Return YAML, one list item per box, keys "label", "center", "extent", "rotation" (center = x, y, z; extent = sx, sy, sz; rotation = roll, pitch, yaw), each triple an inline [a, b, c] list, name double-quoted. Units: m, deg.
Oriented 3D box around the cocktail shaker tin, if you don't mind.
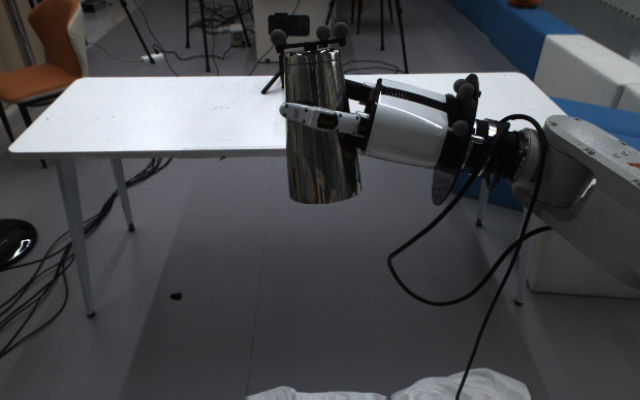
- label: "cocktail shaker tin"
  center: [-0.001, -0.090, 0.581]
  extent: [0.093, 0.170, 0.093]
  rotation: [-6, 20, 2]
